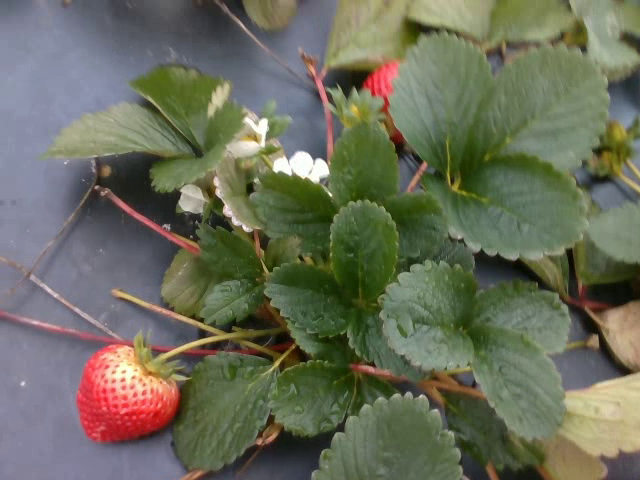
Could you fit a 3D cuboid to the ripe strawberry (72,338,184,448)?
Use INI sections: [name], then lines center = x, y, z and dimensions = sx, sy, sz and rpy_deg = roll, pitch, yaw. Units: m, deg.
[ripe strawberry]
center = -0.115, 0.090, 0.338
dimensions = 0.061, 0.064, 0.050
rpy_deg = 30, 9, -12
